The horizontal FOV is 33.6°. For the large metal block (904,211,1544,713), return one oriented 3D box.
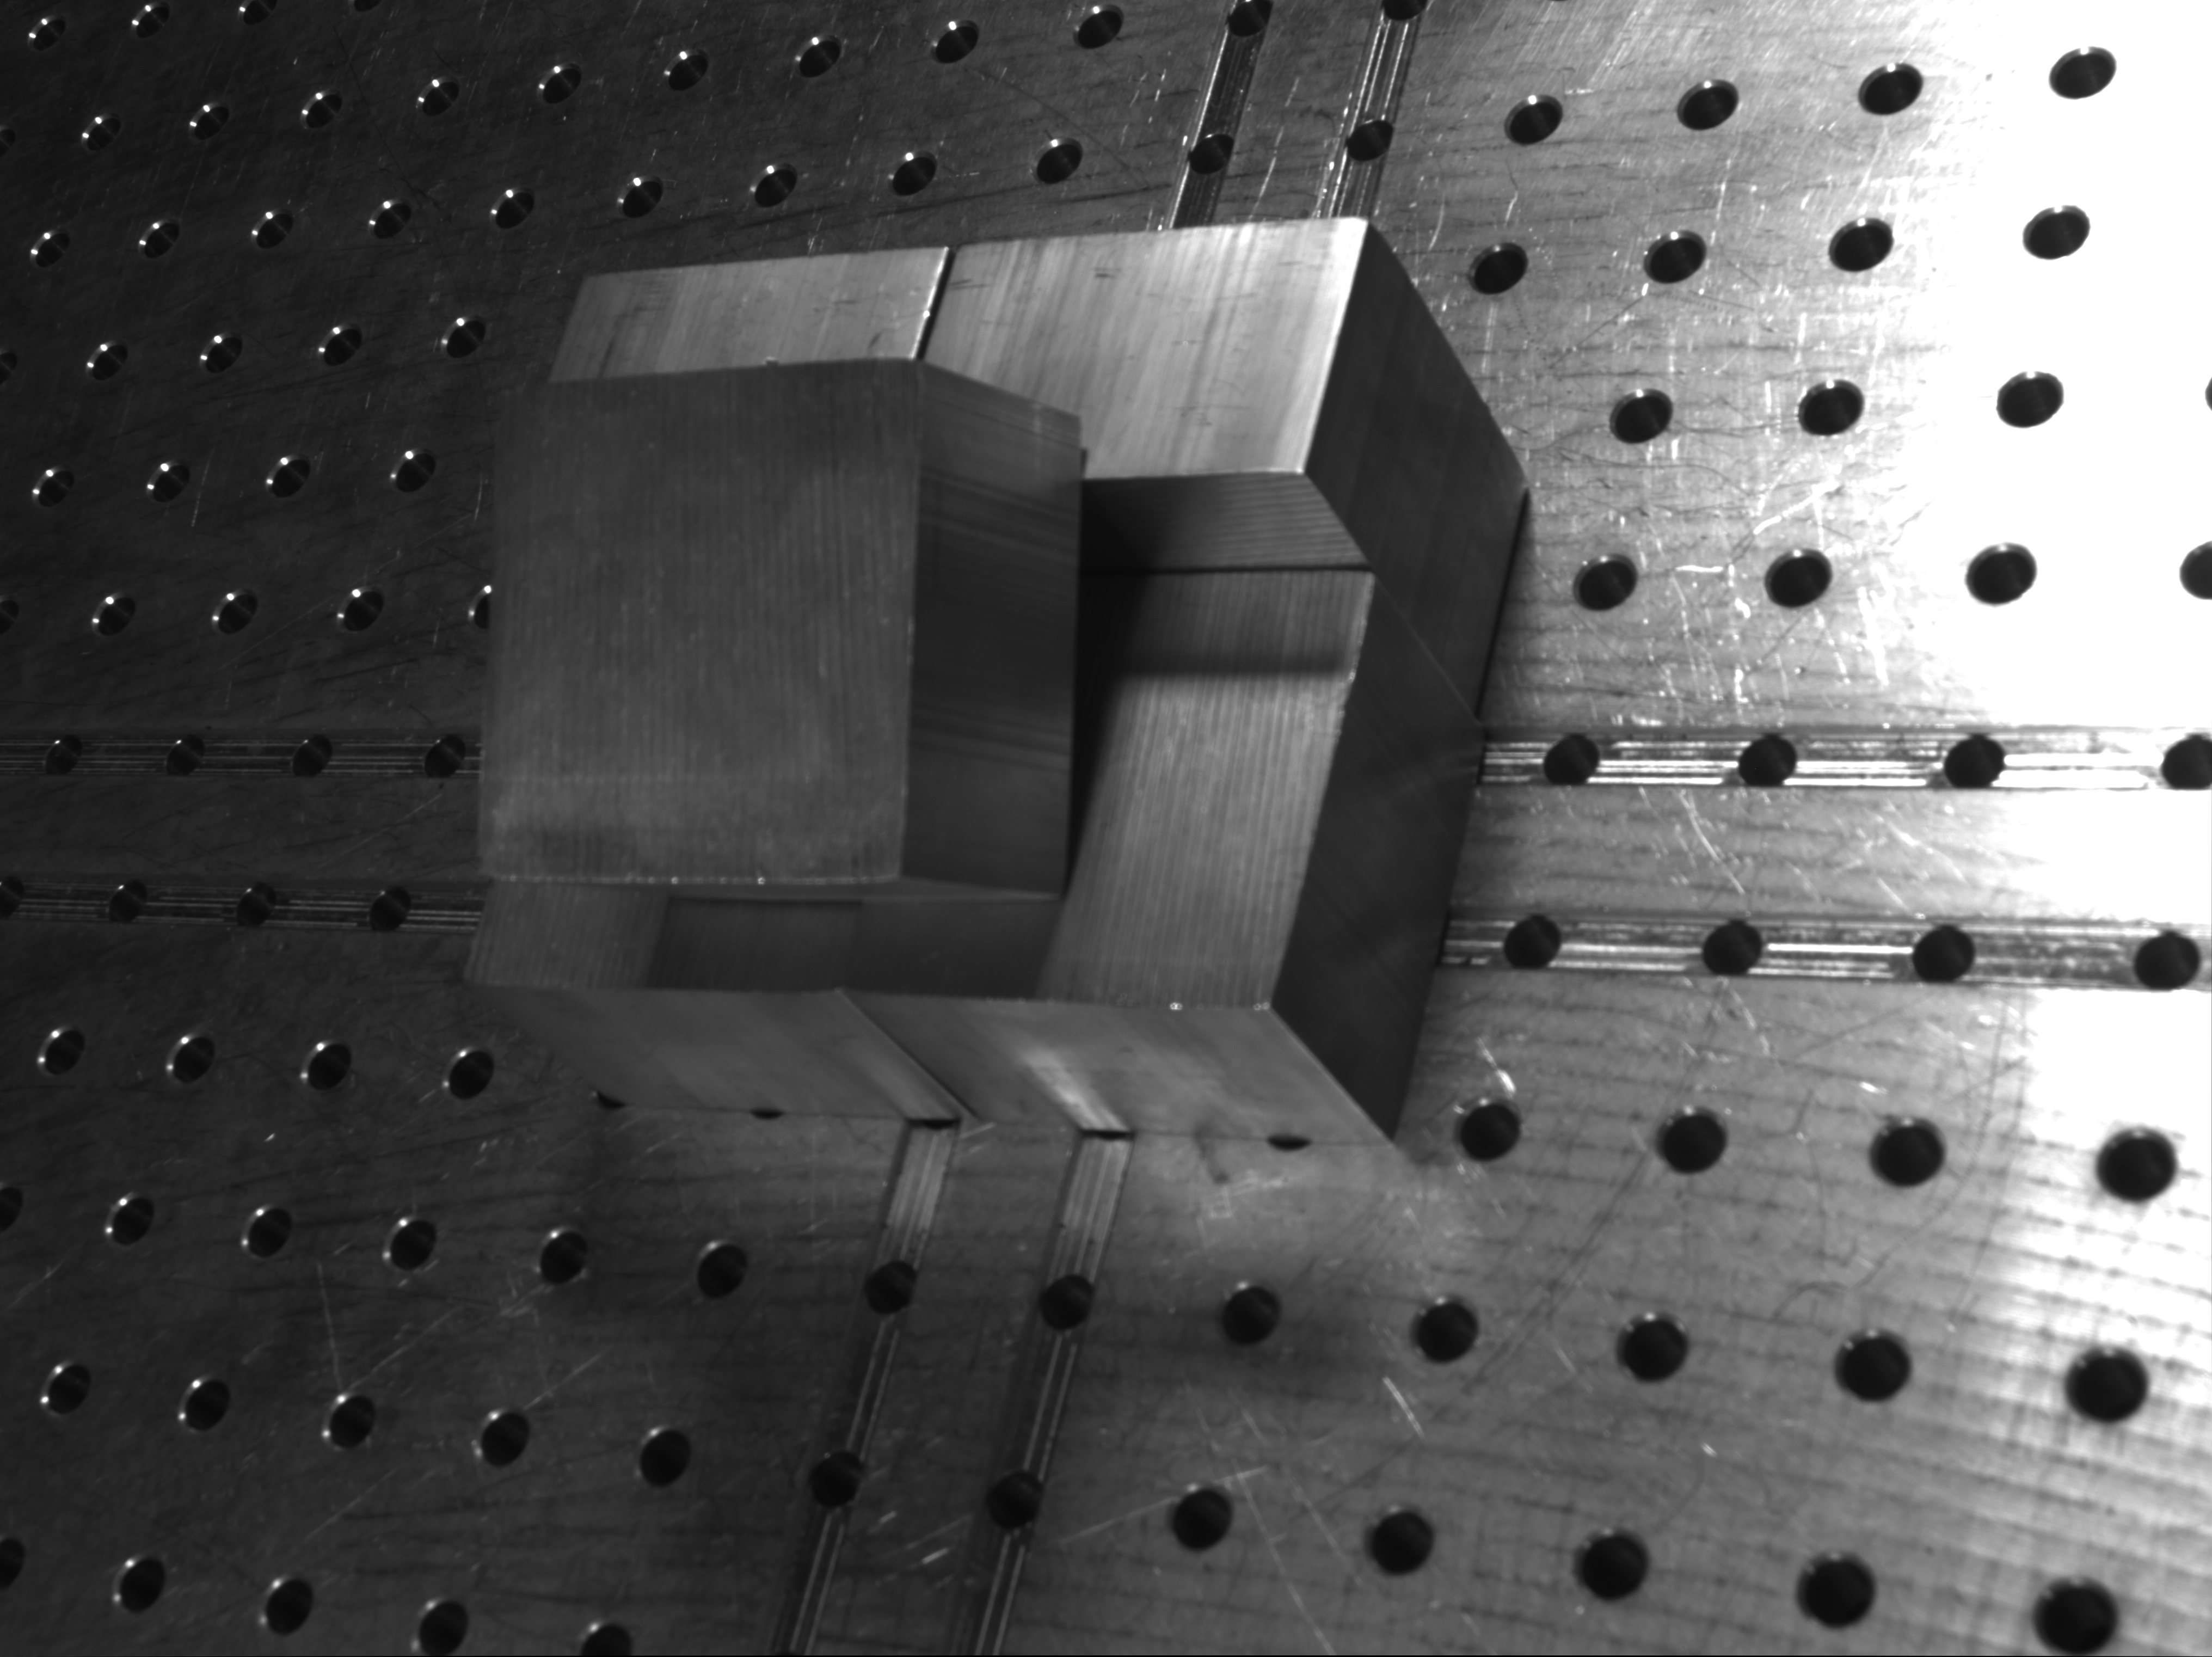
[{"bbox_3d":[0.021,-0.060,0.636,0.080,0.080,0.050,1,62,29],"label":"large metal block"}]

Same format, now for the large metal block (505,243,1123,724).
[{"bbox_3d":[-0.049,-0.061,0.675,0.080,0.080,0.050,1,62,29],"label":"large metal block"}]

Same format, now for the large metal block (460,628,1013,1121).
[{"bbox_3d":[-0.058,0.004,0.658,0.080,0.050,0.080,1,62,29],"label":"large metal block"}]

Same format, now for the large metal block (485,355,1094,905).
[{"bbox_3d":[-0.050,-0.029,0.590,0.080,0.050,0.080,0,85,28],"label":"large metal block"}]

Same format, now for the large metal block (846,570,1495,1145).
[{"bbox_3d":[0.012,0.005,0.619,0.080,0.050,0.080,1,62,29],"label":"large metal block"}]
